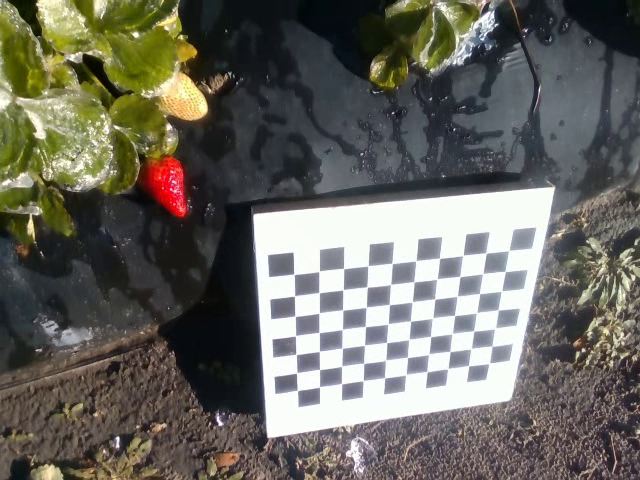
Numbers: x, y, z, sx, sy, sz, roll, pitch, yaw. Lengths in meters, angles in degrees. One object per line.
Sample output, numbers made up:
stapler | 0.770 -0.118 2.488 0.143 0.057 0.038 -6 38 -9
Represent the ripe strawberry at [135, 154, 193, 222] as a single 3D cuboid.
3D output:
ripe strawberry | -0.123 -0.038 0.492 0.042 0.052 0.040 -22 24 -3
